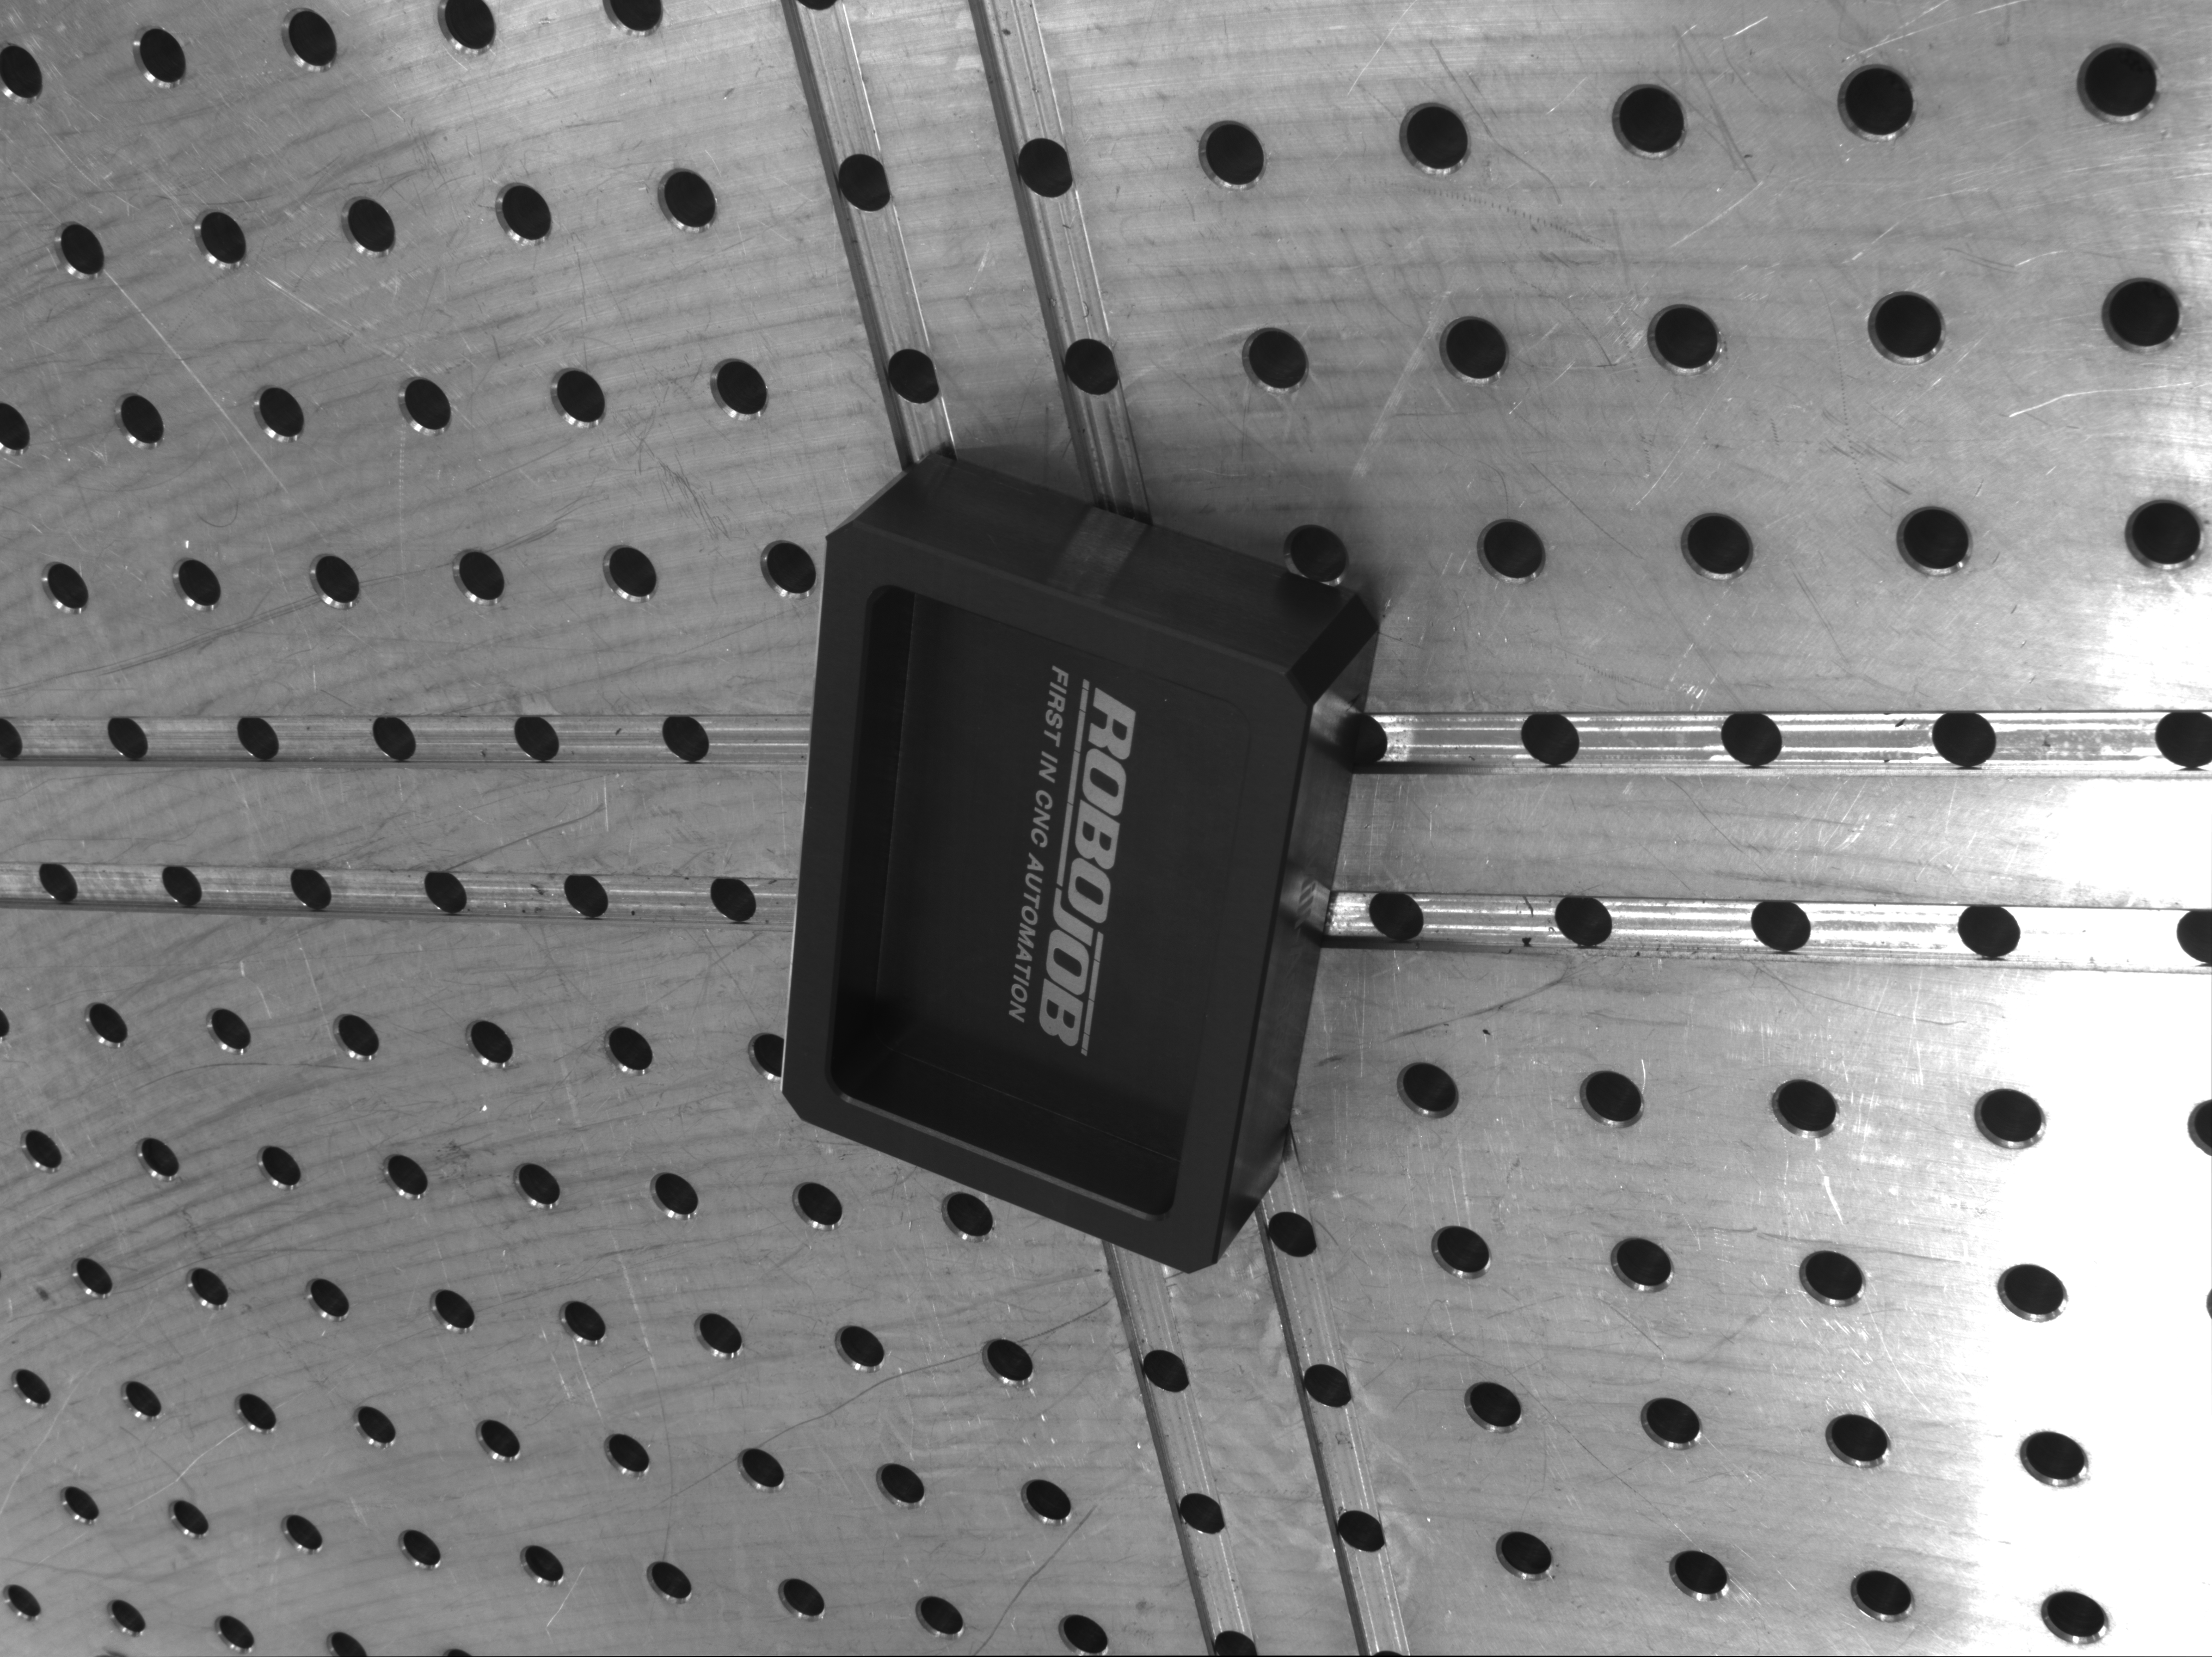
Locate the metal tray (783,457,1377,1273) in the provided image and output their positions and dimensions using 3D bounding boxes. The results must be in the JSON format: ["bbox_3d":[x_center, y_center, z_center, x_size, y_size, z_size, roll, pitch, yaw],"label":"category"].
[{"bbox_3d":[-0.008,0.008,0.652,0.090,0.030,0.130,19,126,16],"label":"metal tray"}]
